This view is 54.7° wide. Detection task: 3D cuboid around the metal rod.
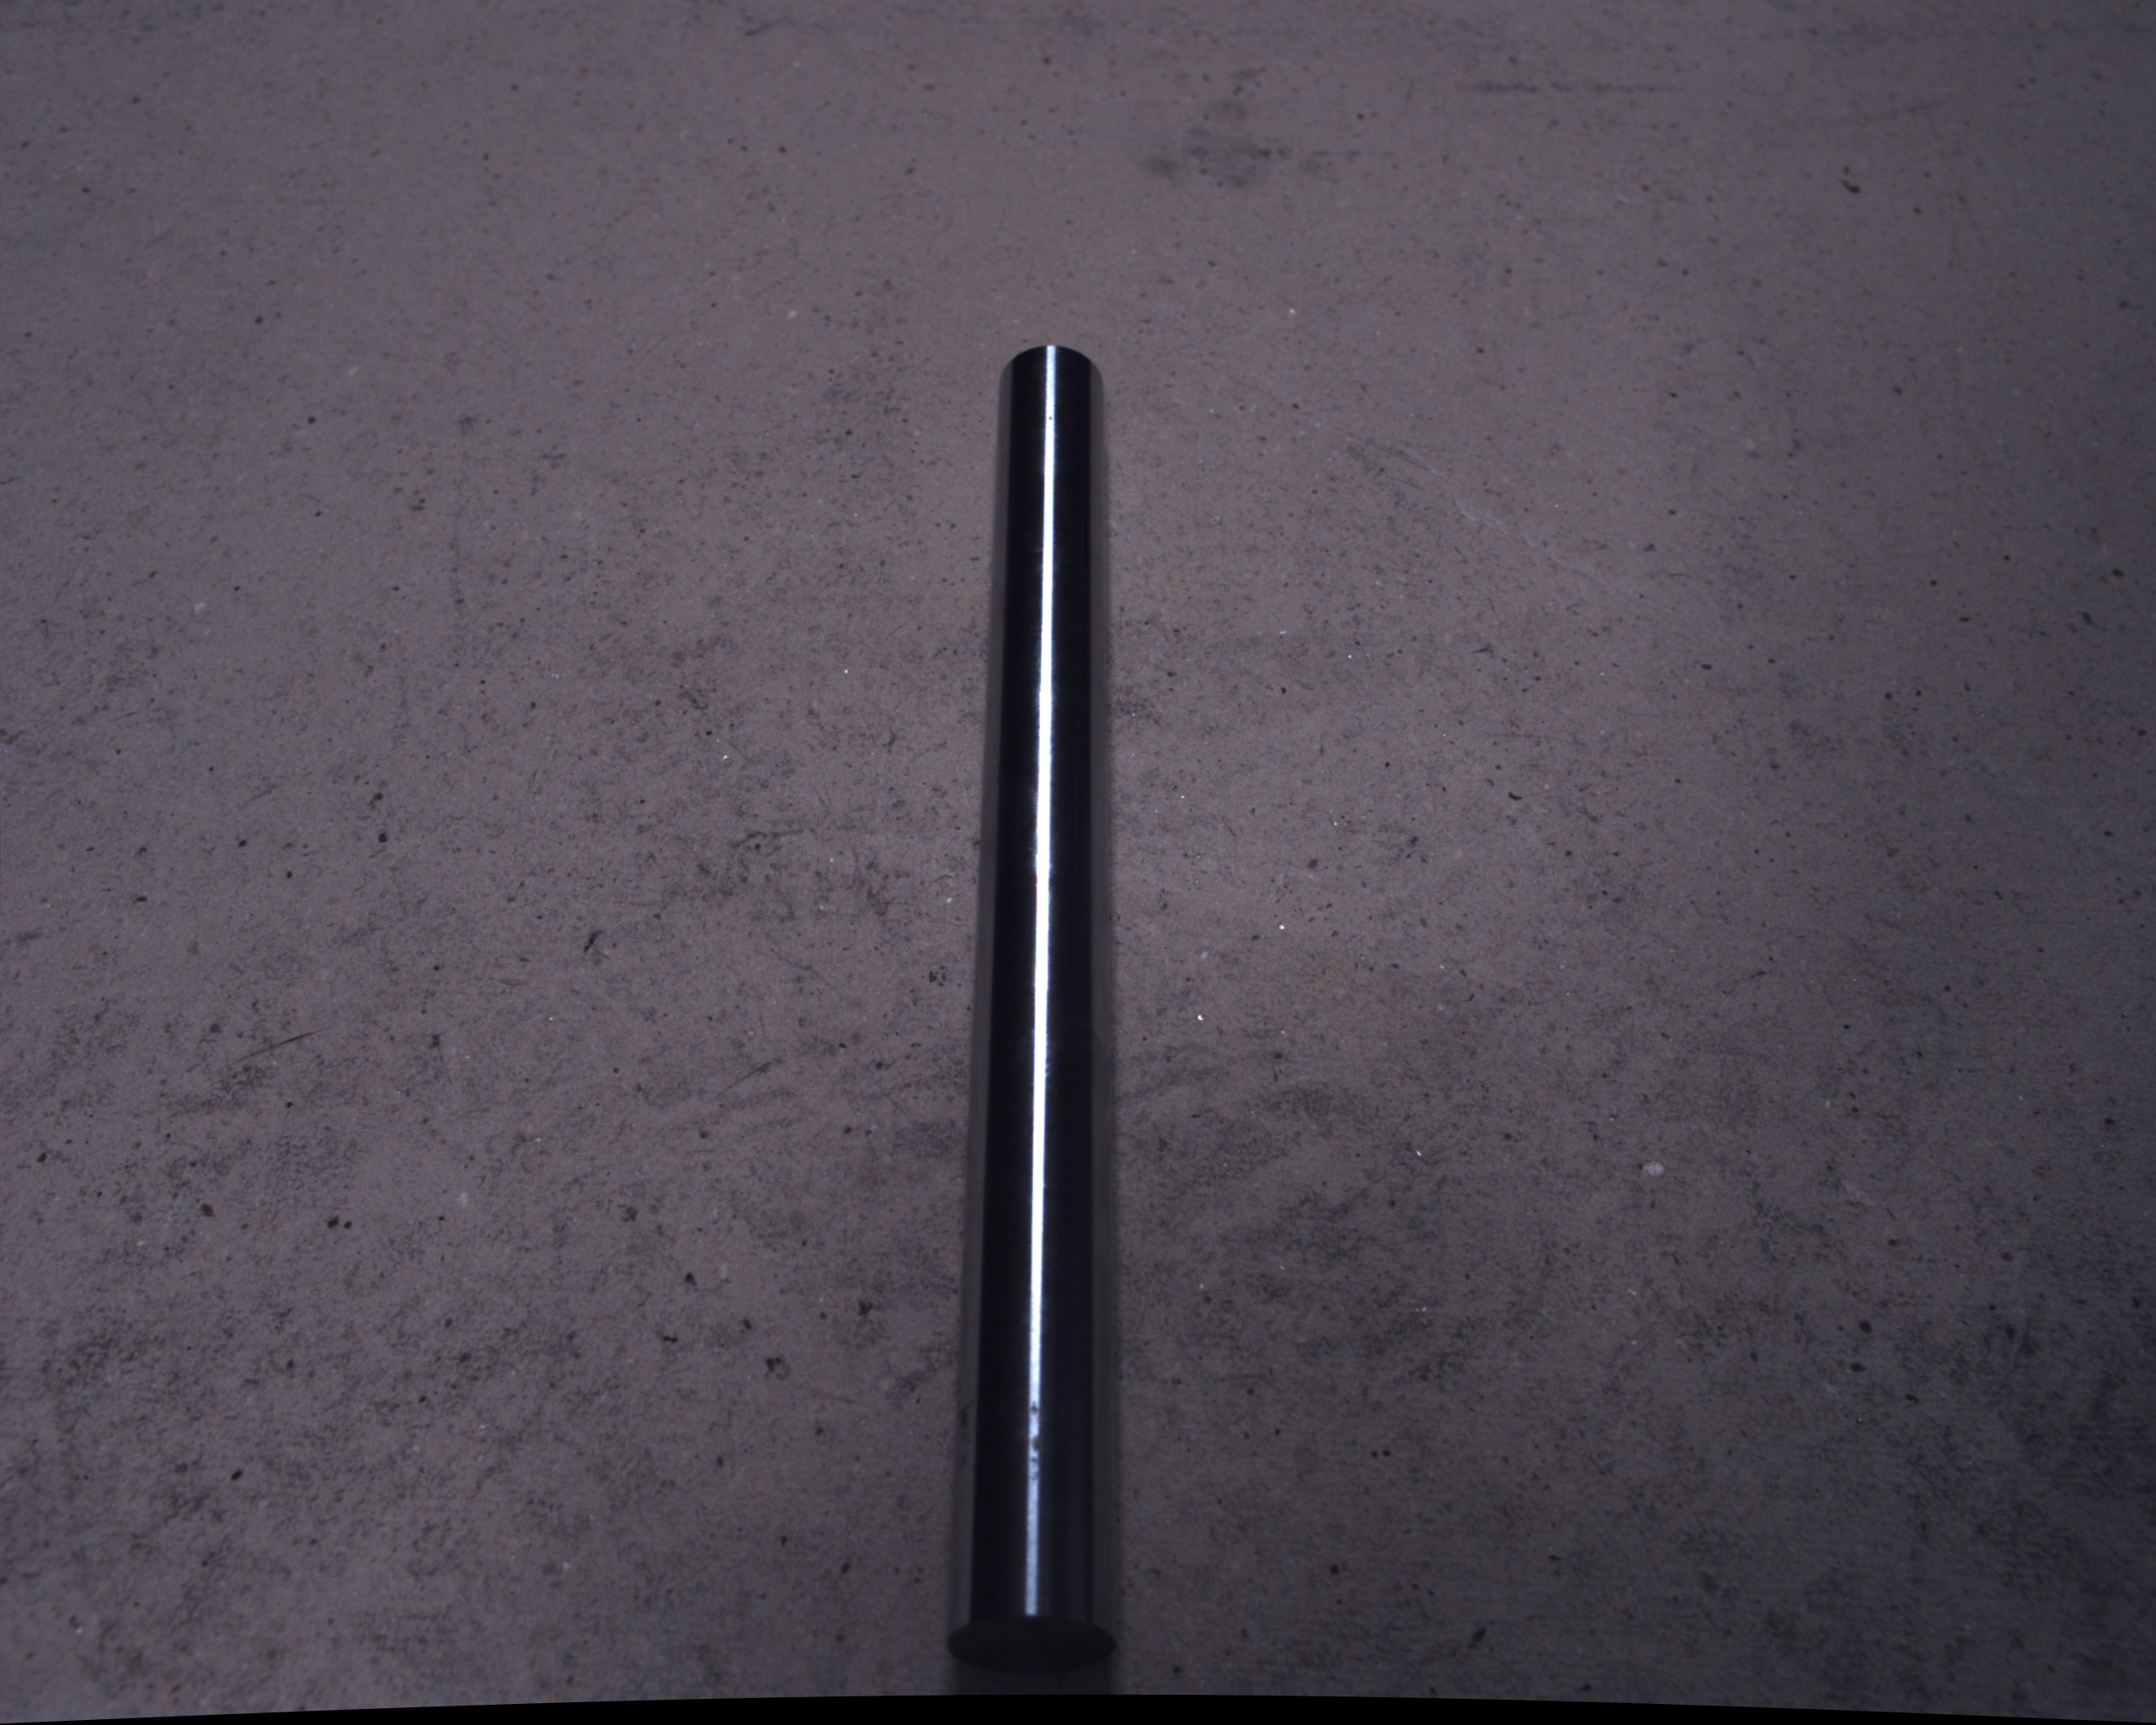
[{"bbox_3d":[-0.007,0.001,0.404,0.025,0.025,0.300,0,50,0],"label":"metal rod"}]
